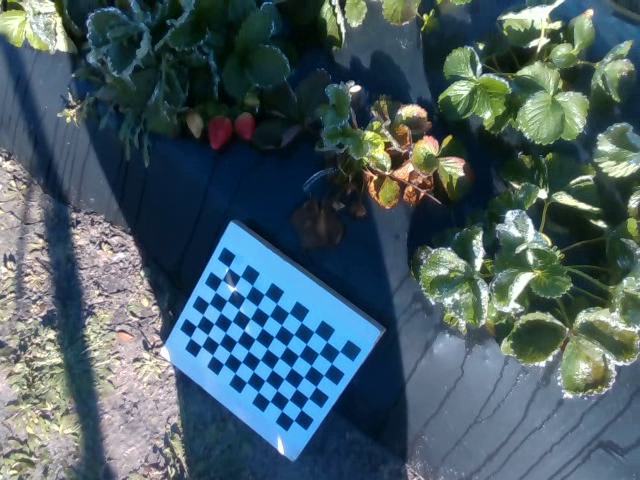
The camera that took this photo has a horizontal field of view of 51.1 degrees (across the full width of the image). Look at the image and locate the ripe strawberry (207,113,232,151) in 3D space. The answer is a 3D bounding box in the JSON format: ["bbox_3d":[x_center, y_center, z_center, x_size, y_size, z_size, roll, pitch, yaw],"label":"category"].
[{"bbox_3d":[-0.142,-0.147,0.922,0.036,0.052,0.040,-4,-30,23],"label":"ripe strawberry"}]

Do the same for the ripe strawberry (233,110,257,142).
[{"bbox_3d":[-0.103,-0.159,0.923,0.036,0.041,0.030,-30,-9,25],"label":"ripe strawberry"}]
